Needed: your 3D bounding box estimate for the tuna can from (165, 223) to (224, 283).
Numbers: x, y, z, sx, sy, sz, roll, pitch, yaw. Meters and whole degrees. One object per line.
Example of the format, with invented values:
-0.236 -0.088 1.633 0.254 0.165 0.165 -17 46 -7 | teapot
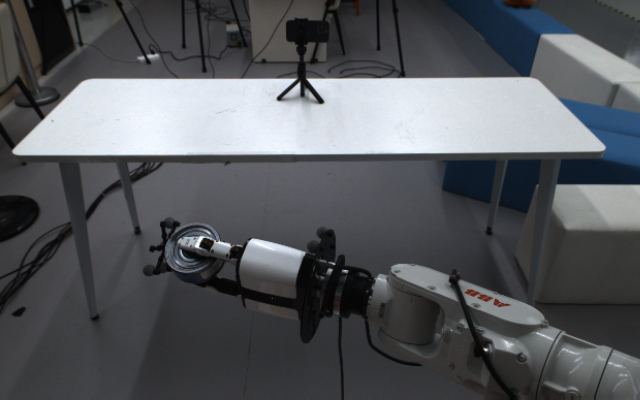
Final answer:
-0.181 0.081 0.711 0.085 0.034 0.085 -2 59 3 | tuna can
